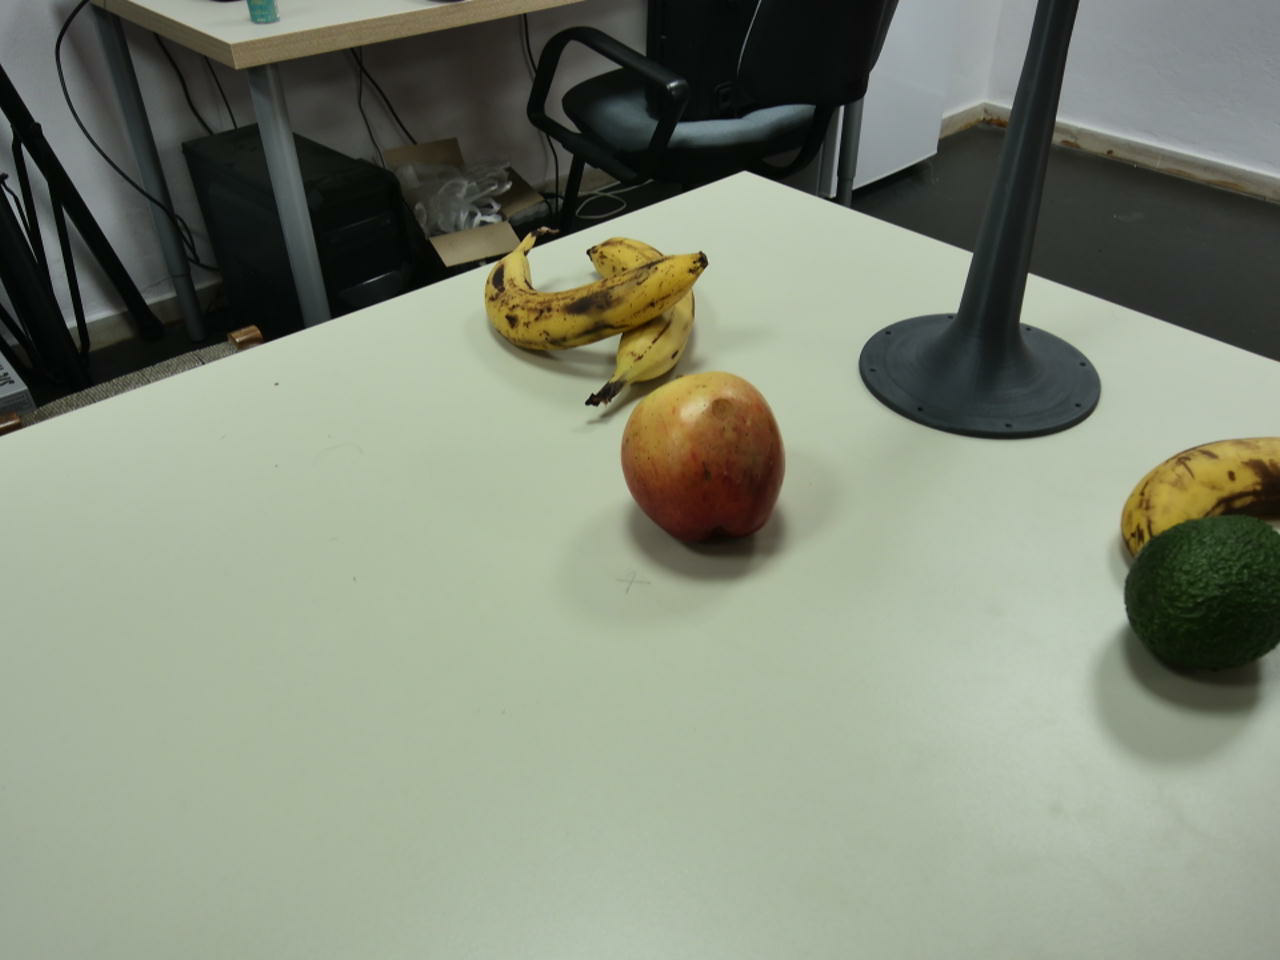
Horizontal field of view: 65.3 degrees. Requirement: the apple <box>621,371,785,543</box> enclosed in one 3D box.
[{"bbox_3d":[0.033,-0.014,0.522,0.086,0.084,0.093,7,37,12],"label":"apple"}]
